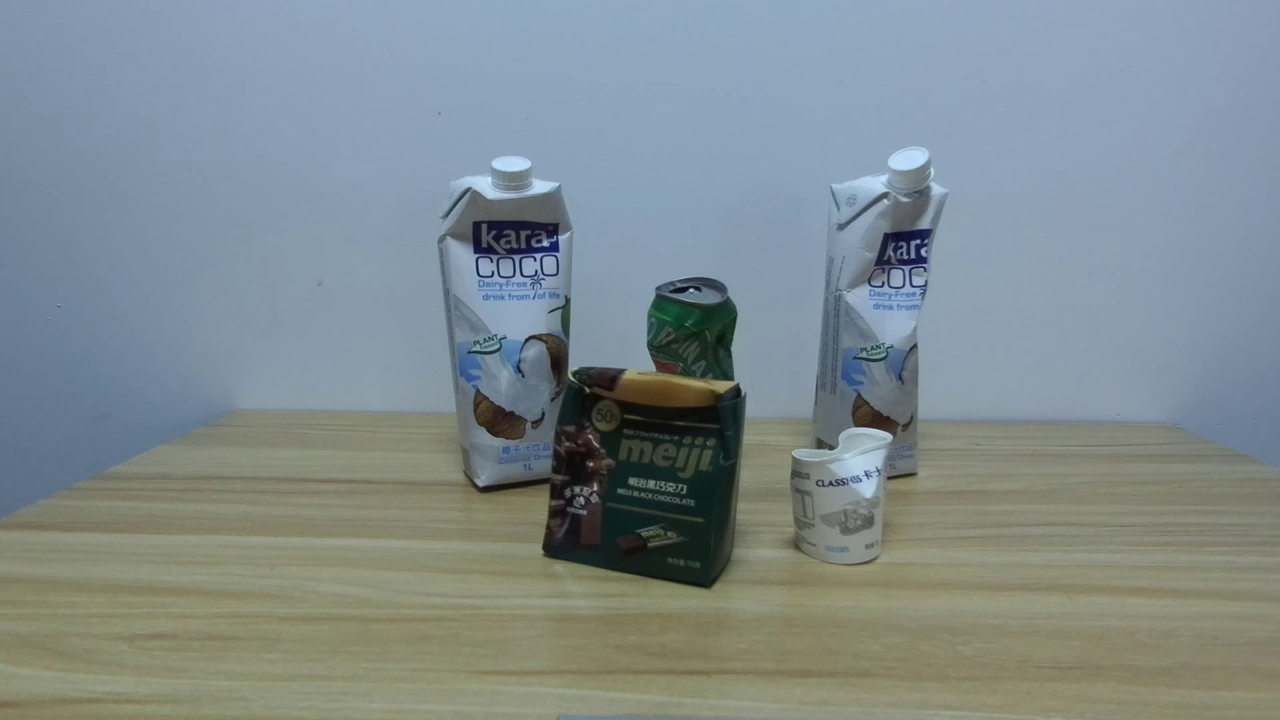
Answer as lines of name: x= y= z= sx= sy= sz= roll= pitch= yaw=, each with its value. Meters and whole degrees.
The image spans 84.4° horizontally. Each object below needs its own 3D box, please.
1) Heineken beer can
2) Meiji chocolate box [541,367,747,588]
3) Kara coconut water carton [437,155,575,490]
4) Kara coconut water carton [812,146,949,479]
Heineken beer can: x=0.043 y=0.018 z=0.548 sx=0.067 sy=0.159 sz=0.079 roll=-1 pitch=18 yaw=5
Meiji chocolate box: x=0.003 y=0.071 z=0.435 sx=0.113 sy=0.110 sz=0.058 roll=6 pitch=0 yaw=19
Kara coconut water carton: x=-0.098 y=-0.029 z=0.546 sx=0.100 sy=0.244 sz=0.071 roll=-7 pitch=12 yaw=-23
Kara coconut water carton: x=0.183 y=-0.034 z=0.559 sx=0.083 sy=0.255 sz=0.078 roll=0 pitch=12 yaw=-12
